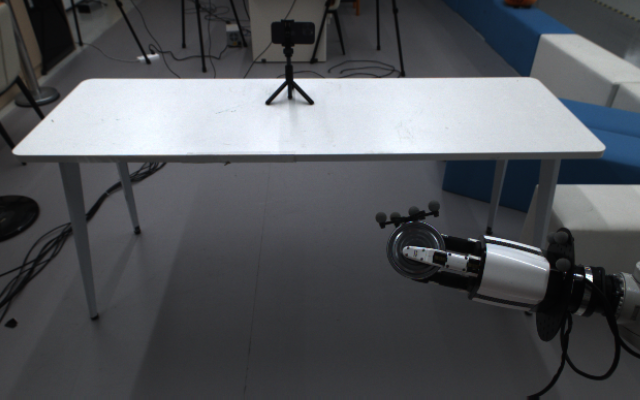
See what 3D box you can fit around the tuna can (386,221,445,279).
[{"bbox_3d":[0.144,0.072,0.711,0.085,0.085,0.034,12,-6,14],"label":"tuna can"}]
